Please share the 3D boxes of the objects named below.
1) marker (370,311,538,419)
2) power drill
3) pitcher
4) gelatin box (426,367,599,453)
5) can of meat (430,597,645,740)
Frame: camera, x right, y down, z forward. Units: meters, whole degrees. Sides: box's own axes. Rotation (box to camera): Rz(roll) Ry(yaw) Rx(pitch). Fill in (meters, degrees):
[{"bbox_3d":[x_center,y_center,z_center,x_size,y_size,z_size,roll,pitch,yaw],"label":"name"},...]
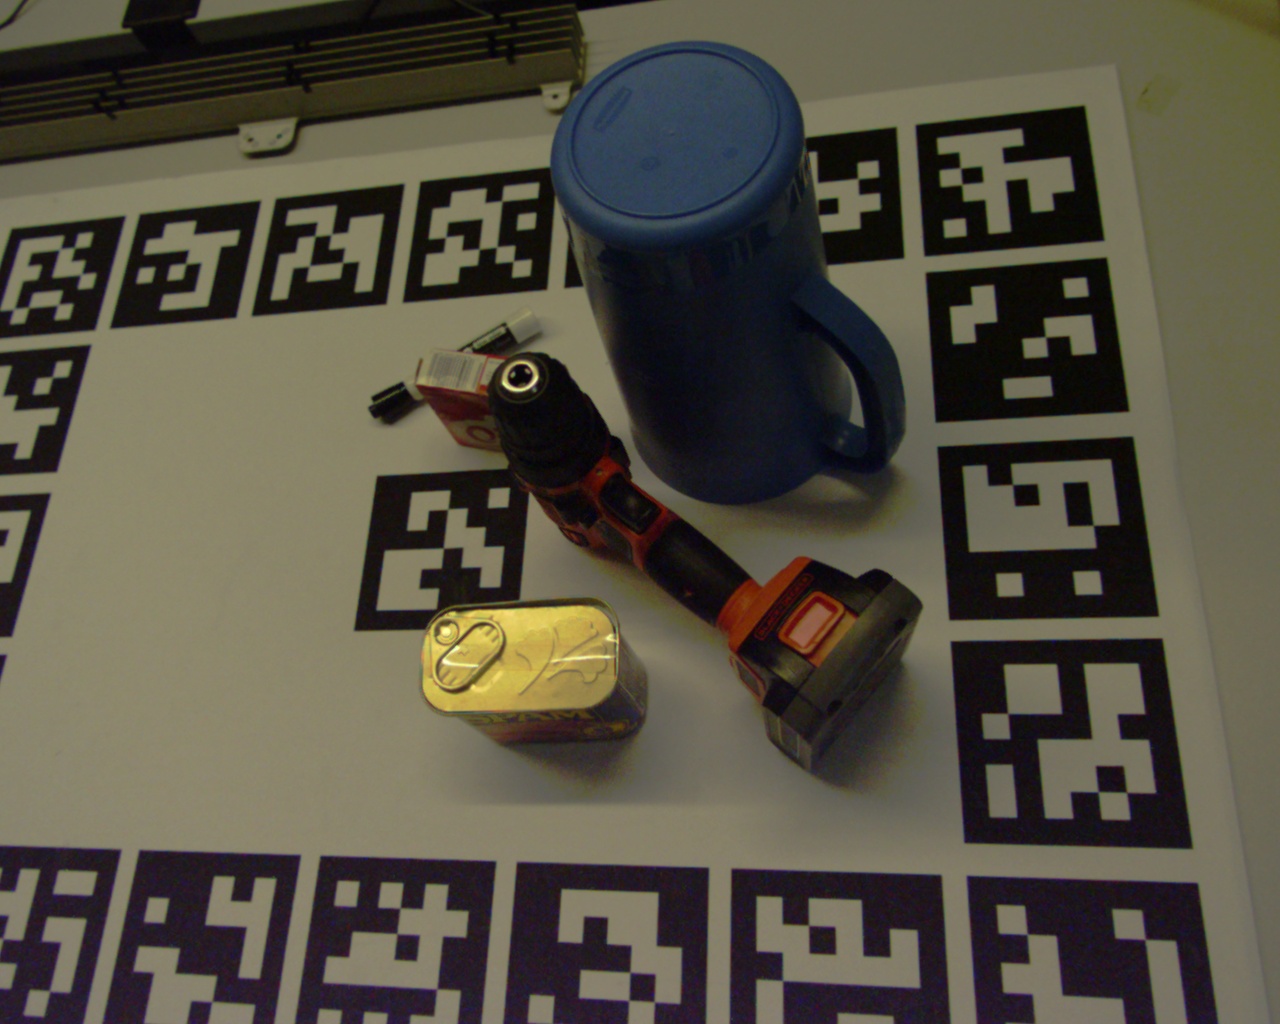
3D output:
[{"bbox_3d":[-0.124,-0.096,0.754,0.121,0.019,0.020,-29,65,2],"label":"marker"},{"bbox_3d":[0.006,0.008,0.593,0.188,0.183,0.057,32,81,17],"label":"power drill"},{"bbox_3d":[0.050,-0.100,0.601,0.191,0.240,0.133,28,80,28],"label":"pitcher"},{"bbox_3d":[-0.076,-0.058,0.700,0.090,0.073,0.030,7,74,14],"label":"gelatin box"},{"bbox_3d":[-0.052,0.089,0.625,0.102,0.083,0.058,-5,65,11],"label":"can of meat"}]
